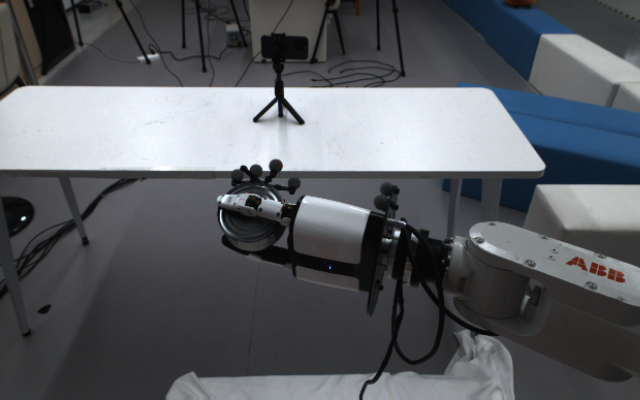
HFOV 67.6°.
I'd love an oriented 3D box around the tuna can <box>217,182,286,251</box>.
[{"bbox_3d":[-0.085,0.020,0.617,0.085,0.034,0.085,-2,58,4],"label":"tuna can"}]
